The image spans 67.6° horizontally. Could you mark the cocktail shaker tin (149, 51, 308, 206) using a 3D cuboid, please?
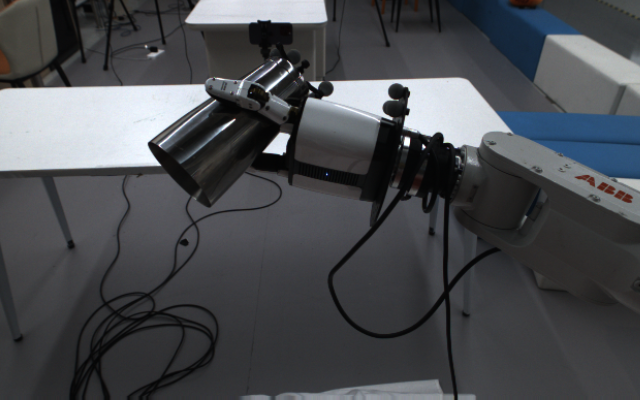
[{"bbox_3d":[-0.091,-0.086,0.535,0.093,0.093,0.170,32,66,35],"label":"cocktail shaker tin"}]
